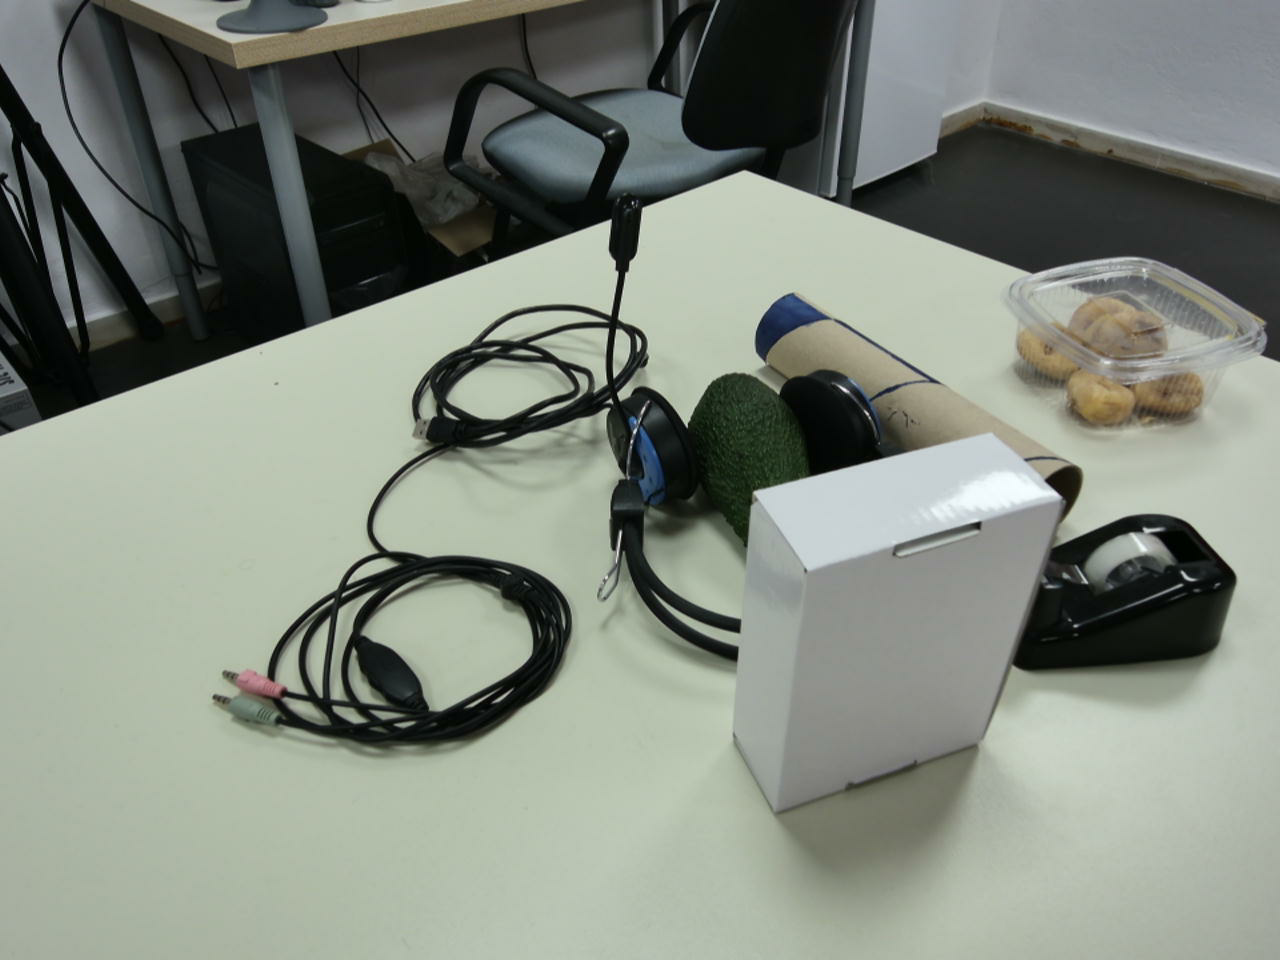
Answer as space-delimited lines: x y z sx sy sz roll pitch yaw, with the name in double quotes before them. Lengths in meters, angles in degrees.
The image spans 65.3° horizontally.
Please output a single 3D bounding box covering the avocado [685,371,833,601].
"avocado" 0.068 -0.005 0.516 0.063 0.067 0.141 -16 38 -19
